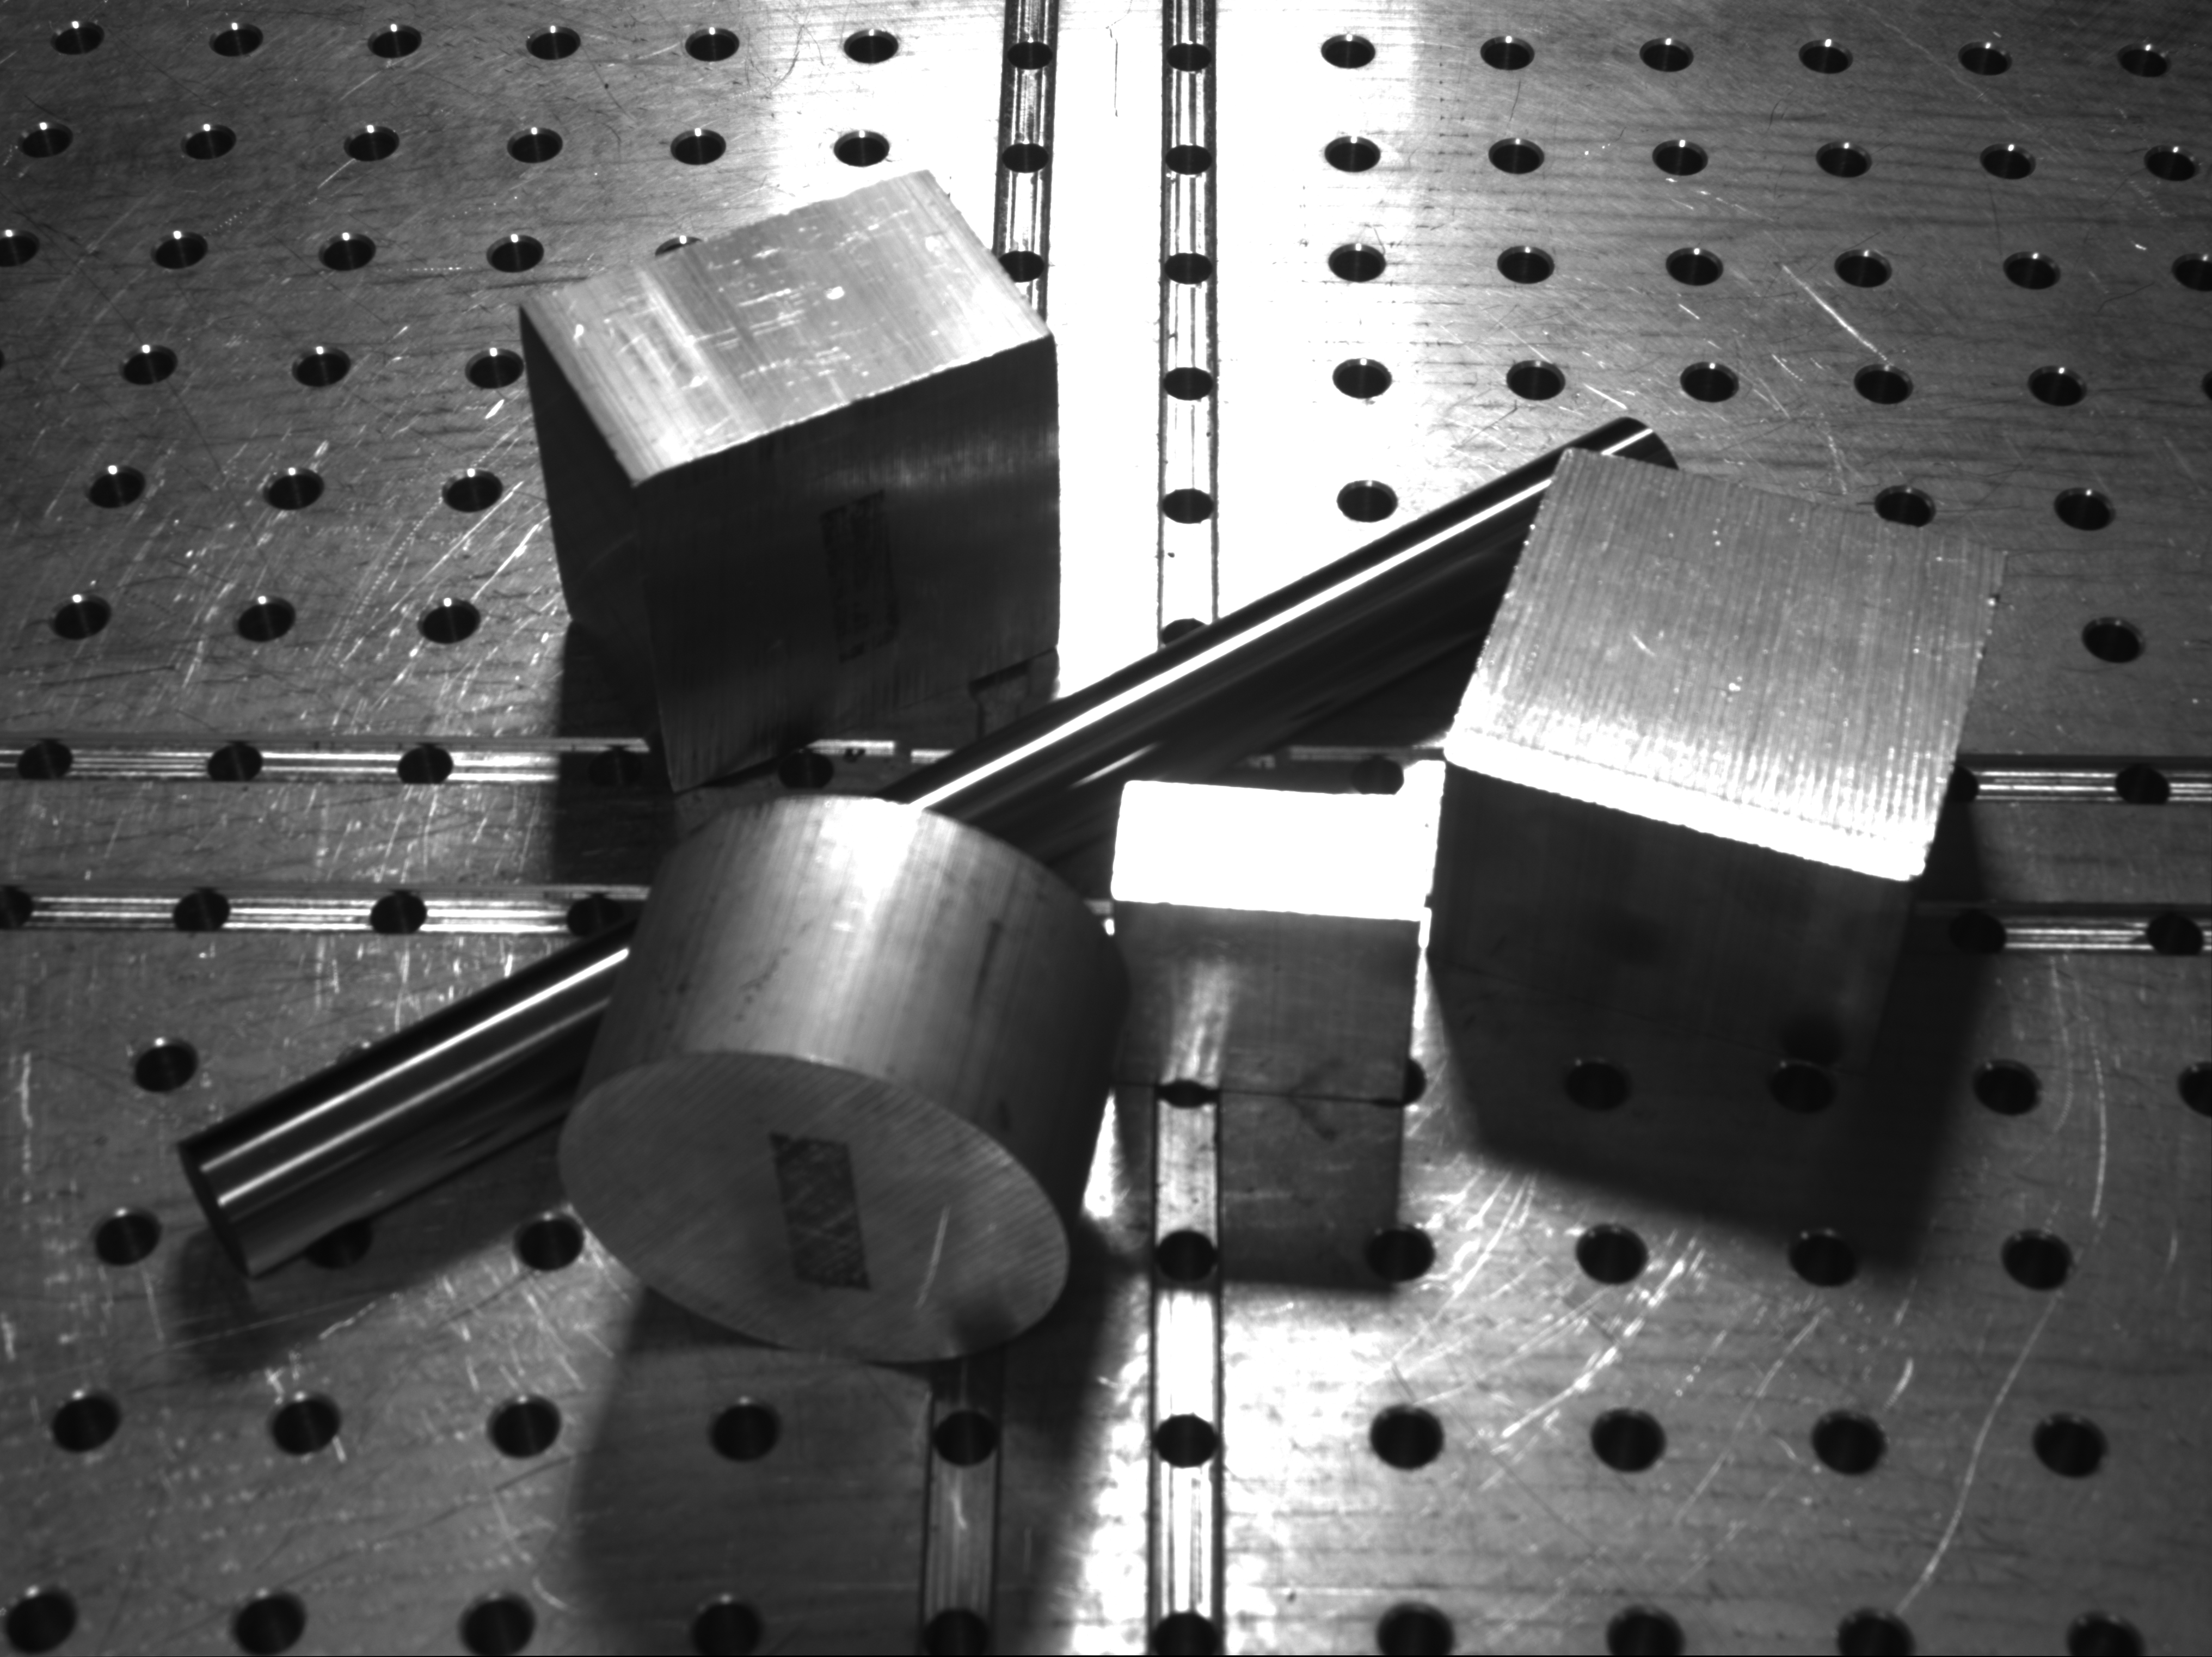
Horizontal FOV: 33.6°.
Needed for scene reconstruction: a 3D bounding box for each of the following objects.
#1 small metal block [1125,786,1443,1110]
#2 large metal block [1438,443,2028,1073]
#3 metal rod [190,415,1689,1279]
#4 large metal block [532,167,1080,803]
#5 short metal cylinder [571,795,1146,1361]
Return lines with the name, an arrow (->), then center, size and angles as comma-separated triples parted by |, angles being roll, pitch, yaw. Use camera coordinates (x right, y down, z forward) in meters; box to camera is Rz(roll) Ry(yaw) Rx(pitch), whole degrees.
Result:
small metal block -> 0.029, 0.020, 0.612 | 0.050, 0.050, 0.025 | 4, 50, 3
large metal block -> 0.109, -0.014, 0.637 | 0.080, 0.050, 0.080 | 15, 51, 12
metal rod -> -0.018, -0.003, 0.647 | 0.300, 0.025, 0.025 | -28, 55, -21
large metal block -> -0.052, -0.062, 0.662 | 0.080, 0.080, 0.050 | -22, 53, -18
short metal cylinder -> -0.038, 0.040, 0.574 | 0.080, 0.080, 0.050 | 9, 50, 8
